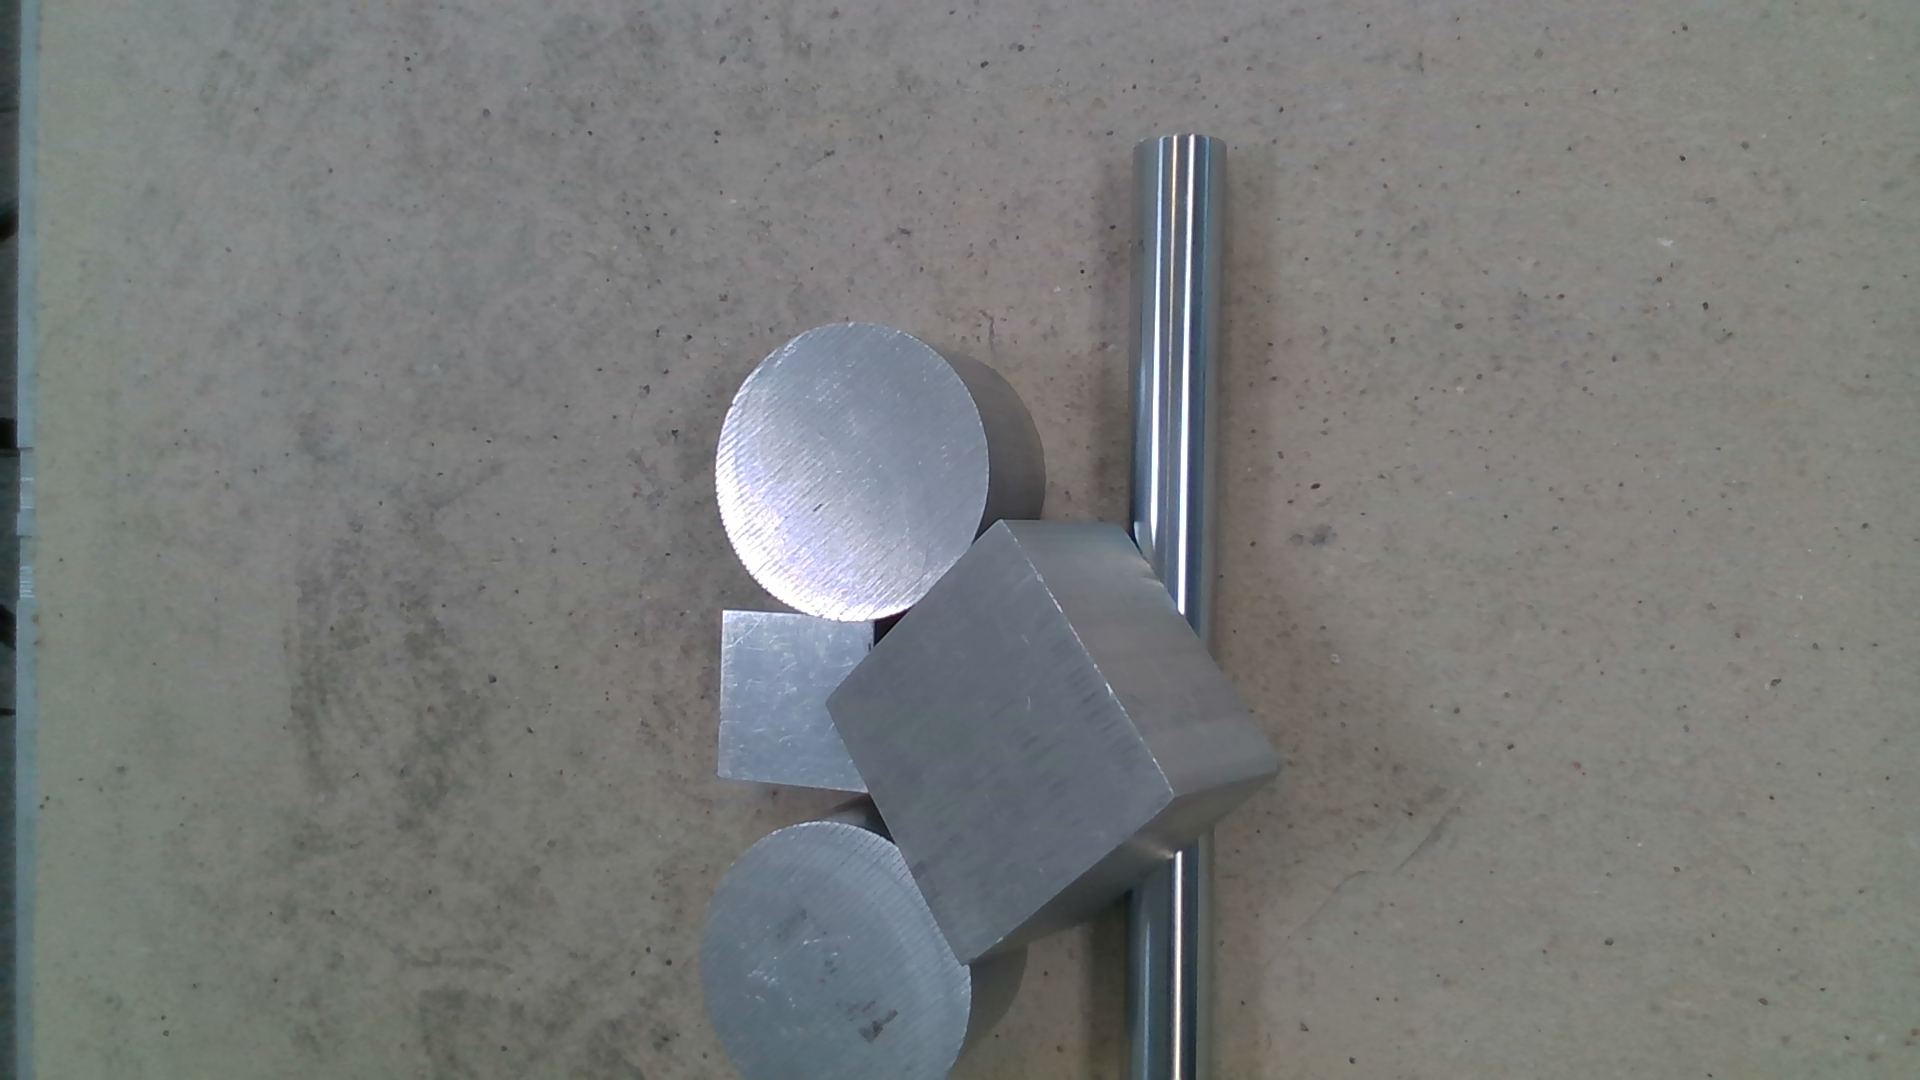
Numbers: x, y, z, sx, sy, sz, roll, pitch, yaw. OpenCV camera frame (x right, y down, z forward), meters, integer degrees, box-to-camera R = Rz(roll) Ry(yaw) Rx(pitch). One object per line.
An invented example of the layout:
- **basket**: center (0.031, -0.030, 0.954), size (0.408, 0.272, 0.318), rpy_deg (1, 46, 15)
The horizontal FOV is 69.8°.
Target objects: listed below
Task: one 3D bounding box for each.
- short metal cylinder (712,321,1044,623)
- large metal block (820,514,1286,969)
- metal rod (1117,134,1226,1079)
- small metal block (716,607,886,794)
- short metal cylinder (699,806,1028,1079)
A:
- **short metal cylinder**: center (-0.022, -0.018, 0.388), size (0.080, 0.050, 0.080), rpy_deg (0, 90, 20)
- **large metal block**: center (0.021, 0.050, 0.355), size (0.080, 0.050, 0.080), rpy_deg (-47, 61, 31)
- **metal rod**: center (0.057, 0.044, 0.373), size (0.025, 0.025, 0.300), rpy_deg (1, 91, 20)
- **small metal block**: center (-0.044, 0.047, 0.411), size (0.050, 0.025, 0.050), rpy_deg (2, 91, 20)
- **short metal cylinder**: center (-0.026, 0.116, 0.391), size (0.080, 0.050, 0.080), rpy_deg (0, 90, 20)
